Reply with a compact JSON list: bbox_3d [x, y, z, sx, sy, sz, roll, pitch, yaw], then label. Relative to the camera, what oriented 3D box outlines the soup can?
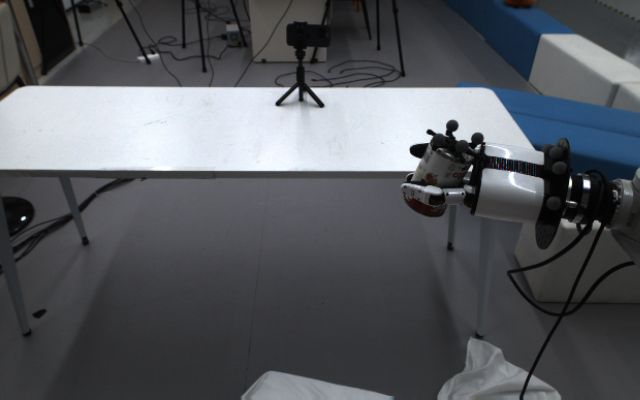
[{"bbox_3d":[0.174,-0.035,0.710,0.067,0.101,0.067,14,35,-10],"label":"soup can"}]
